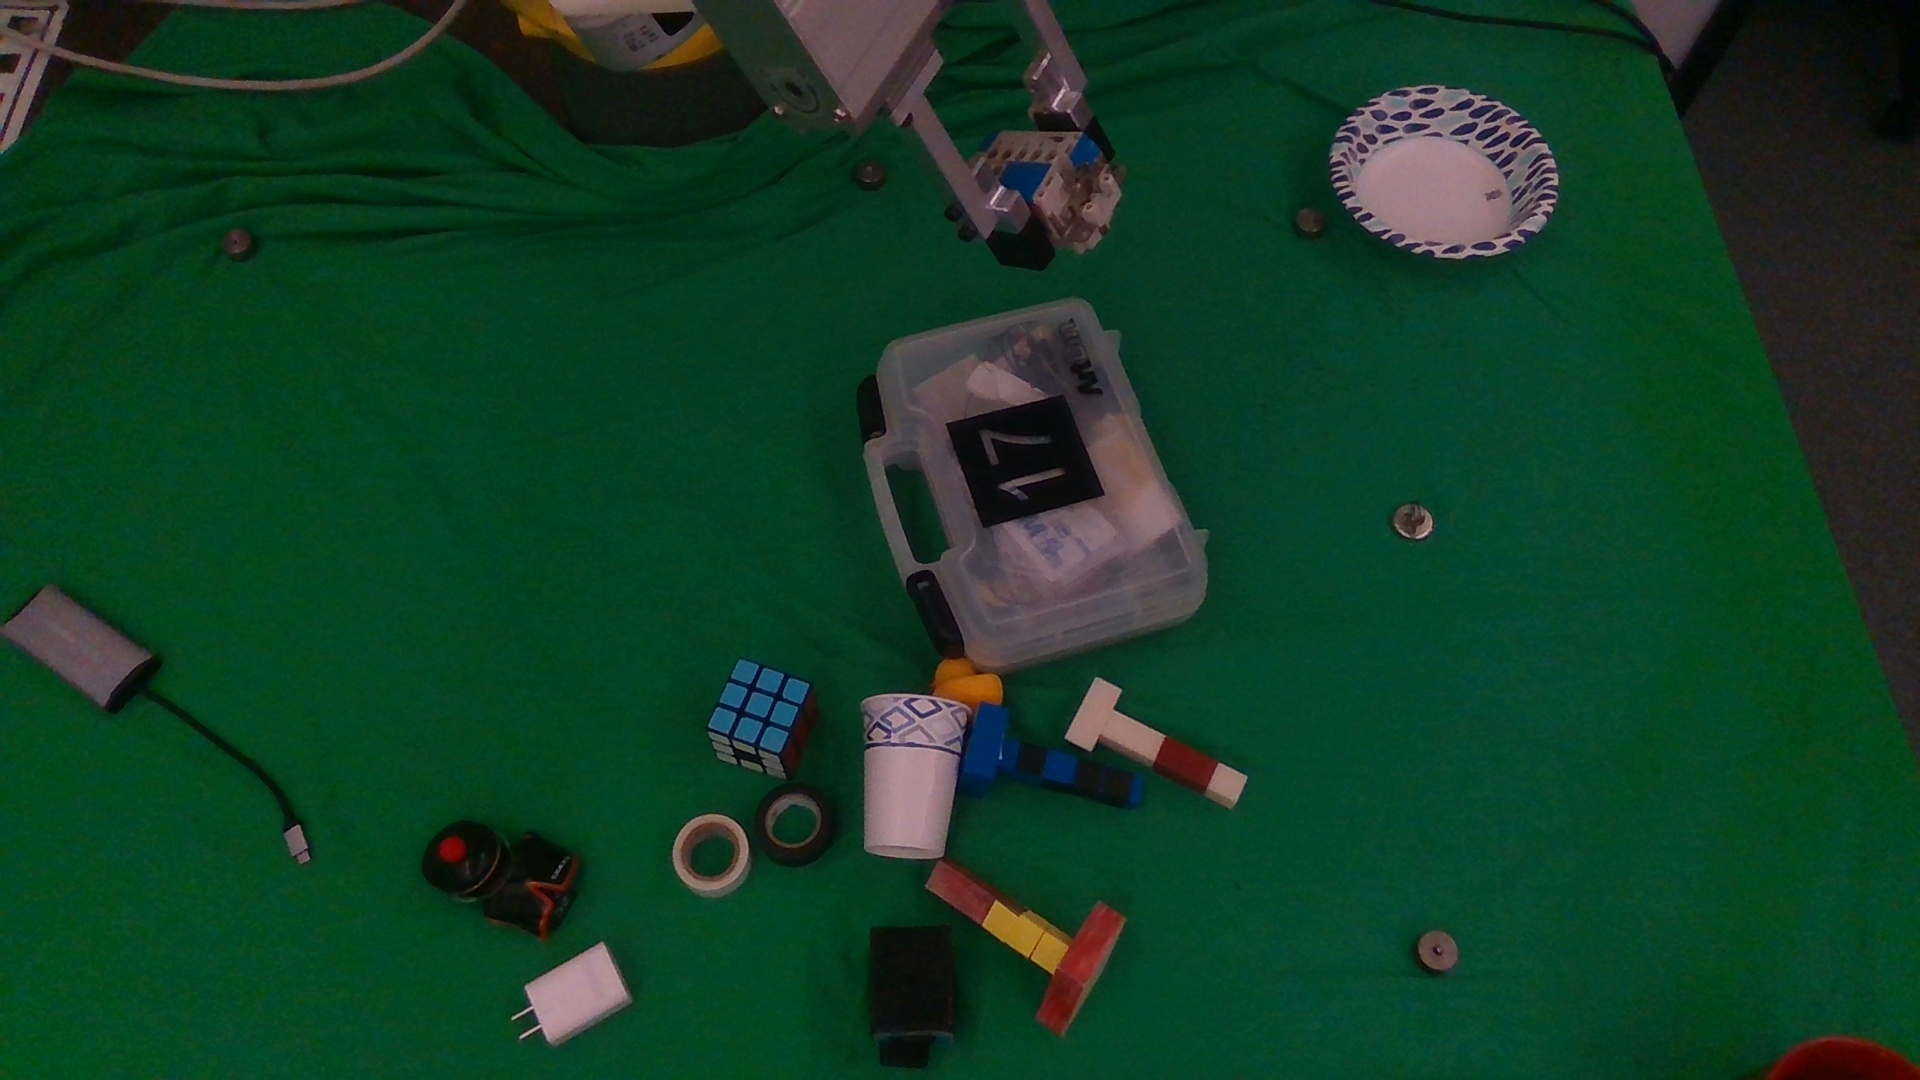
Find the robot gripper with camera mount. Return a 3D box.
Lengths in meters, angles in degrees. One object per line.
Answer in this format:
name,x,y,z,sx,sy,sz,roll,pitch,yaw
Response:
robot gripper with camera mount,-0.067,-0.170,0.494,0.194,0.158,0.119,11,58,38

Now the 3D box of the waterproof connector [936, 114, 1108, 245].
waterproof connector,0.021,-0.128,0.501,0.065,0.037,0.035,22,67,44
